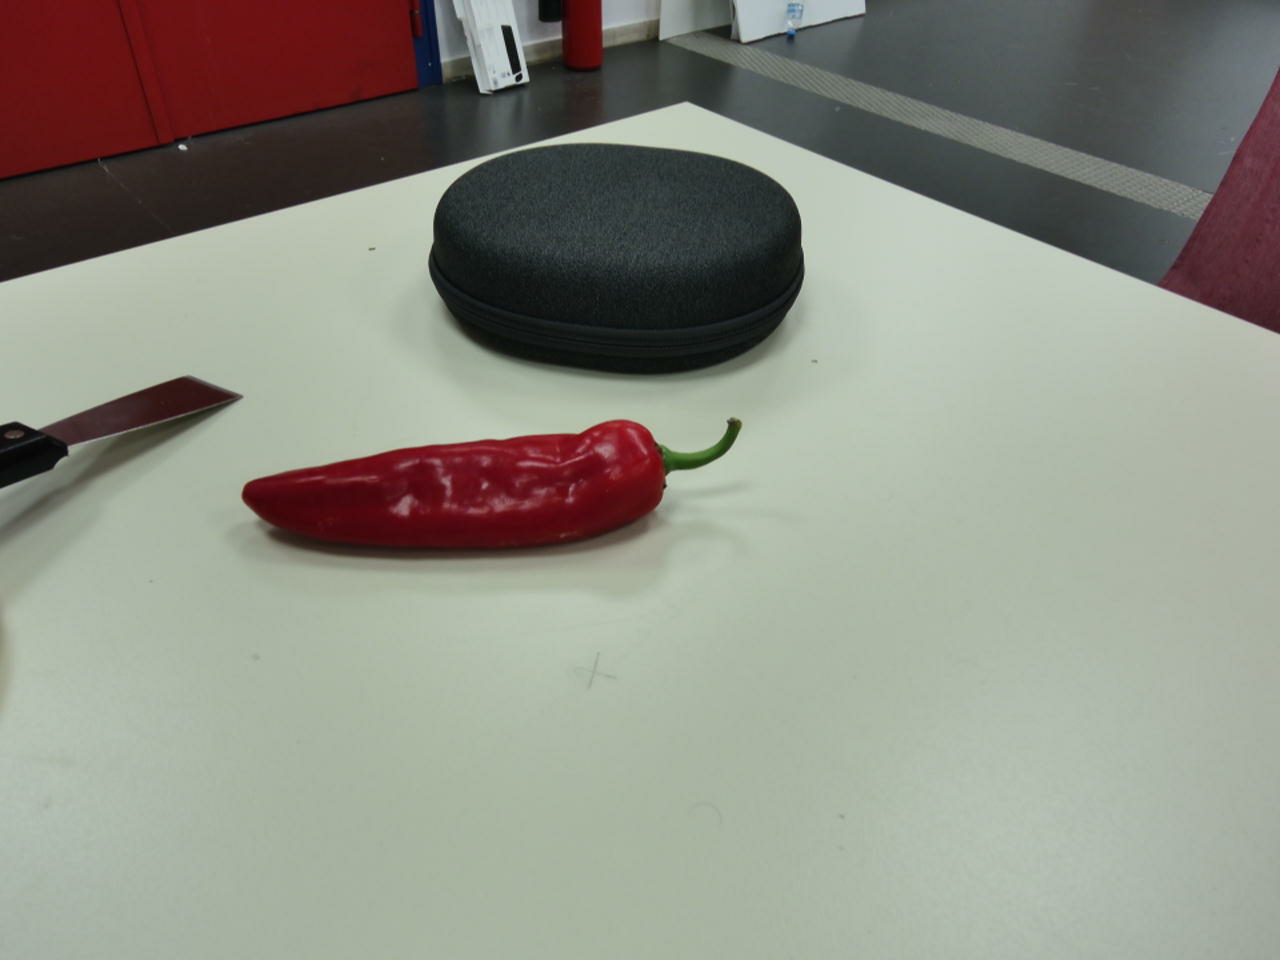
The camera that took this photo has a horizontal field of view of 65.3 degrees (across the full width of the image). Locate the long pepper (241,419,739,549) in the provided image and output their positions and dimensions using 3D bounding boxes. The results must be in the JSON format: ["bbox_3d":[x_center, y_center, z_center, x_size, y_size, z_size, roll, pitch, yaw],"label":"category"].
[{"bbox_3d":[-0.063,0.002,0.429,0.211,0.043,0.050,-5,37,-7],"label":"long pepper"}]
